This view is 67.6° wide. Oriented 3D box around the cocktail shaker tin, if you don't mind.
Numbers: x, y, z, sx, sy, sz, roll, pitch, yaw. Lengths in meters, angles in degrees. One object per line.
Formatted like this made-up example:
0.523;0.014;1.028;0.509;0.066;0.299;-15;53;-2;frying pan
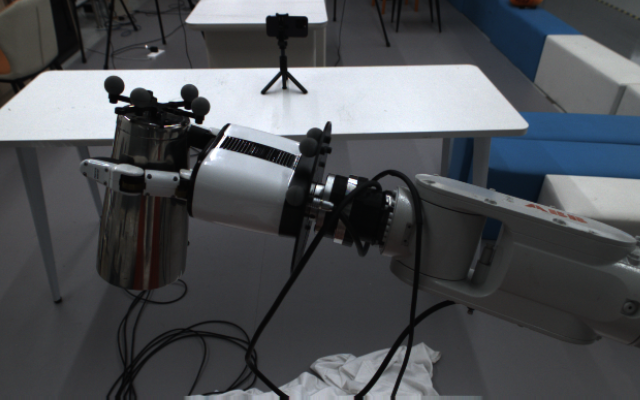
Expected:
-0.170;-0.007;0.492;0.093;0.170;0.093;12;25;-6;cocktail shaker tin
